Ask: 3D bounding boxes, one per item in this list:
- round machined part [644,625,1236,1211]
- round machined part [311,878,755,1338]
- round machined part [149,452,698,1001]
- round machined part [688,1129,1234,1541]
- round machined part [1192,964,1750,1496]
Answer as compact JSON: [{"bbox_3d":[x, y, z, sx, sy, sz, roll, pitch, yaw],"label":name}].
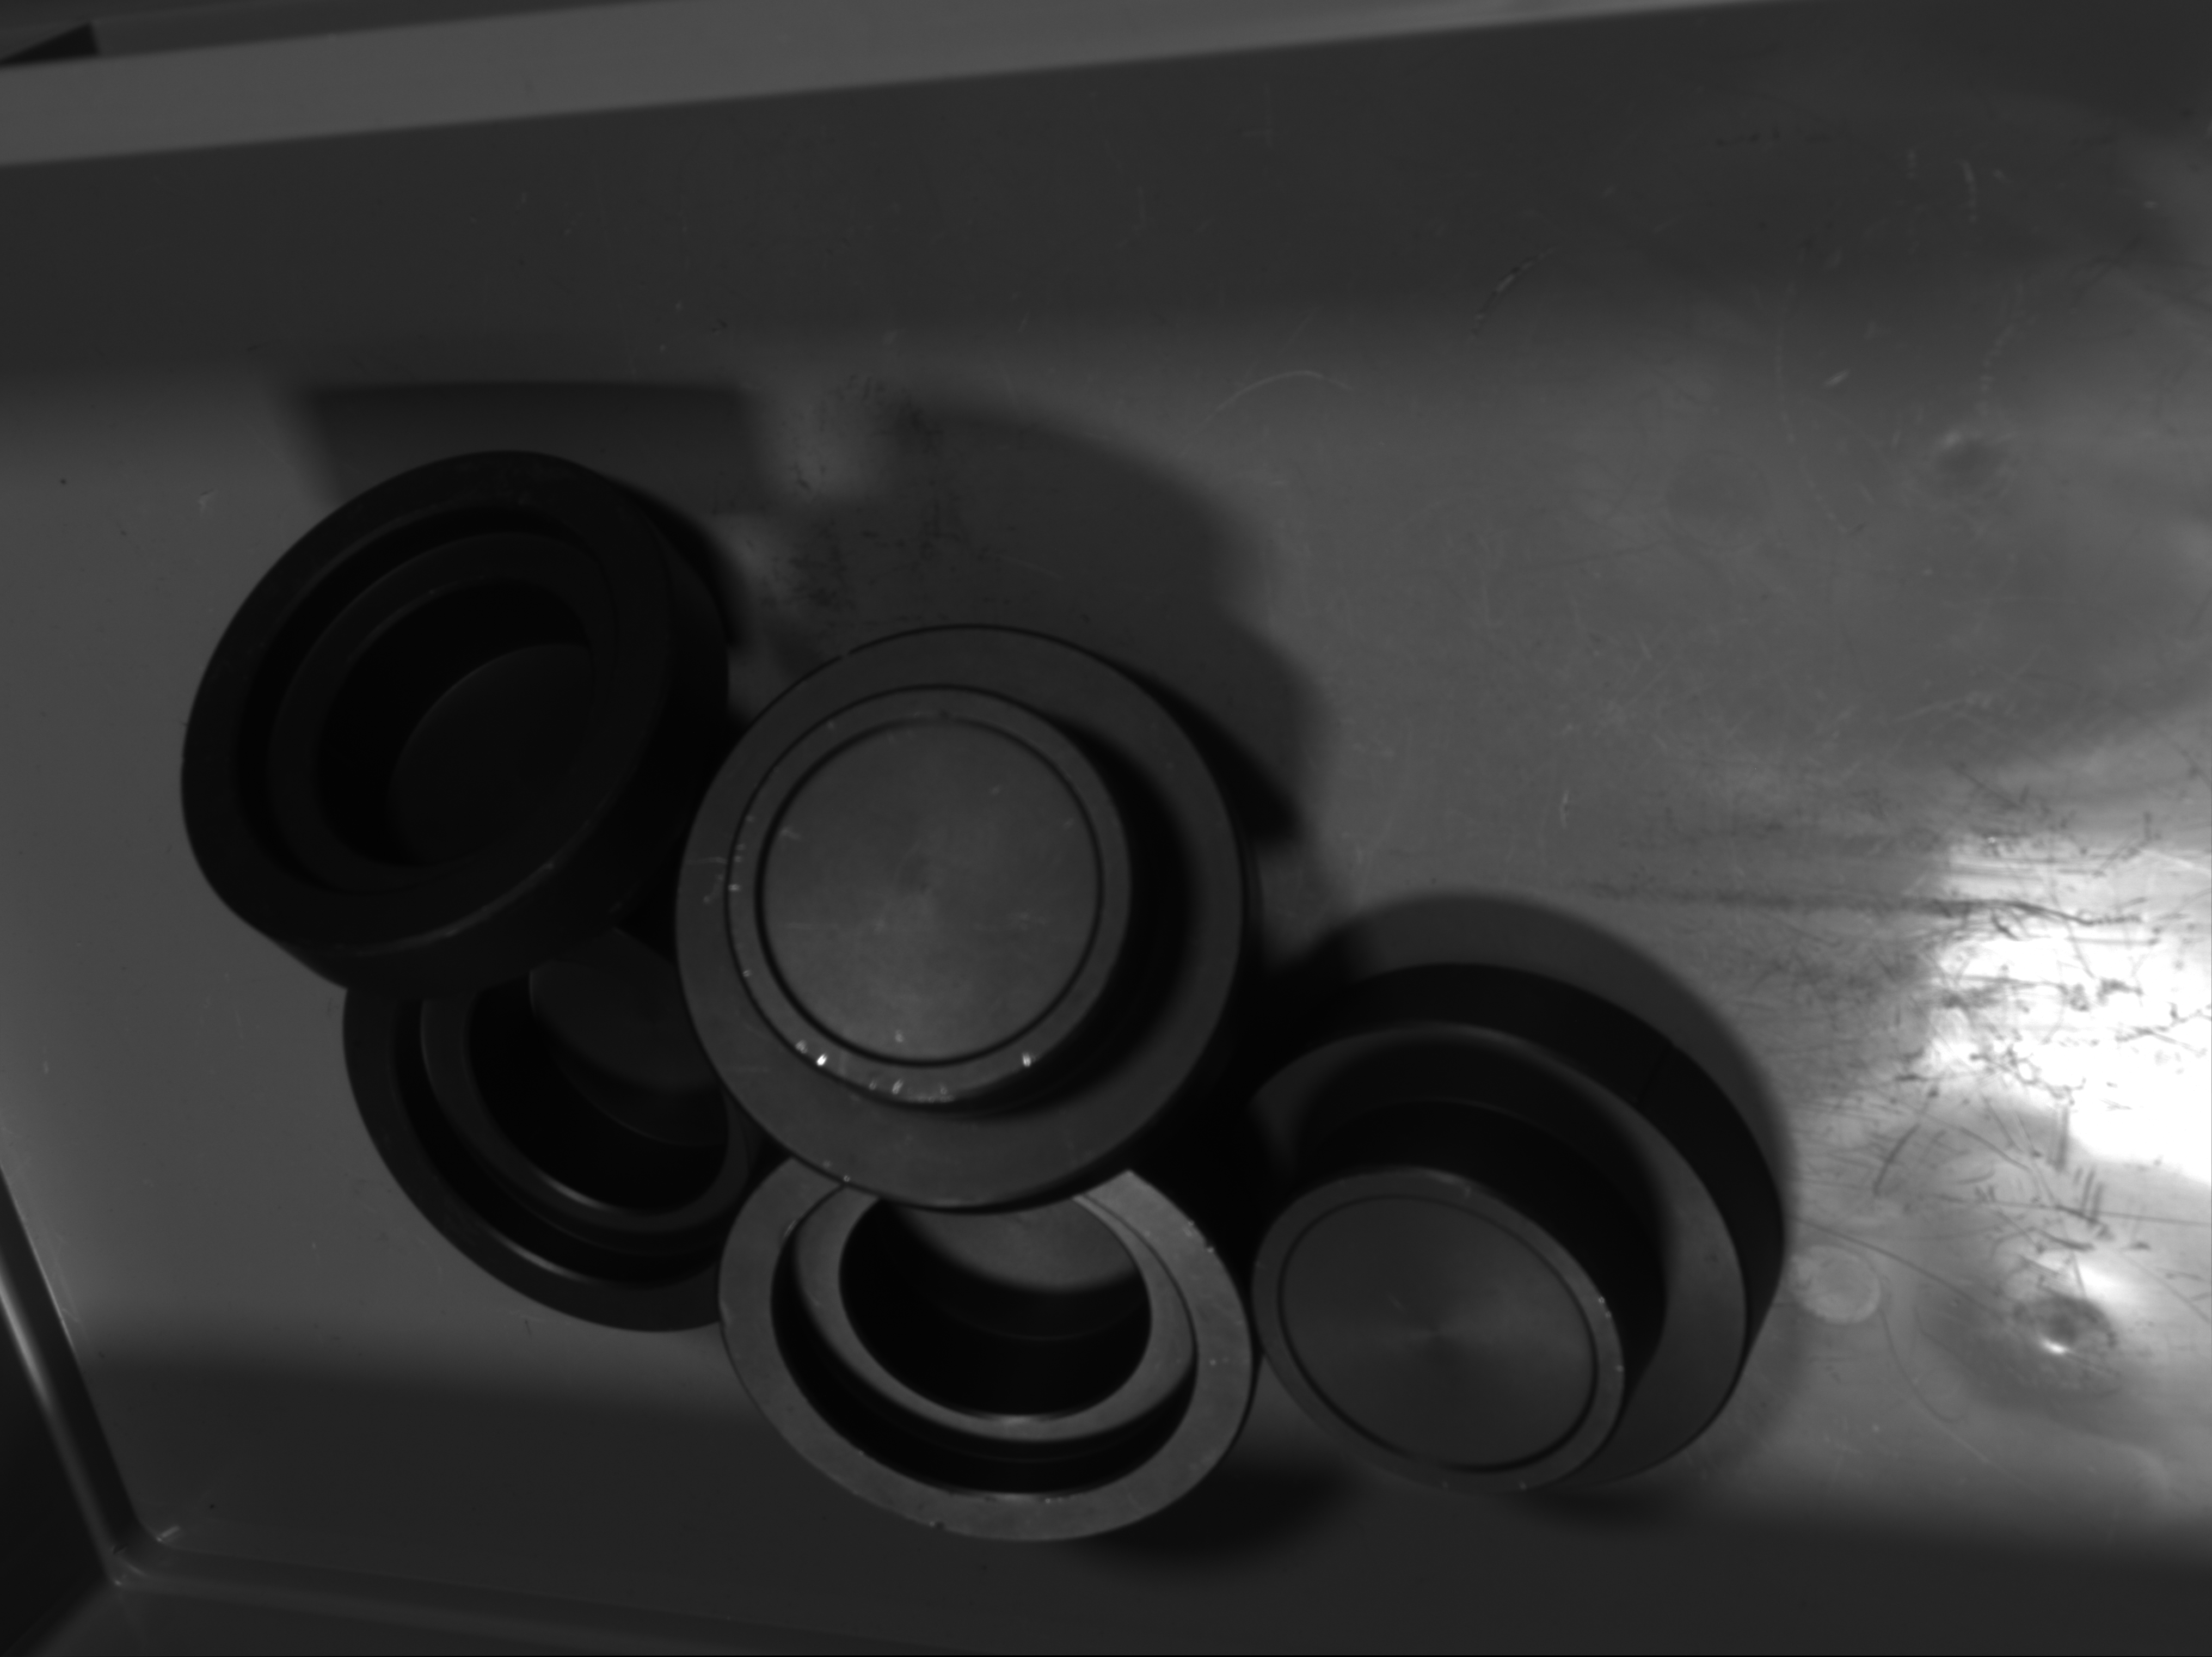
[{"bbox_3d":[-0.030,0.014,0.607,0.098,0.042,0.098,-2,79,9],"label":"round machined part"},{"bbox_3d":[-0.097,0.044,0.693,0.098,0.042,0.098,12,123,20],"label":"round machined part"},{"bbox_3d":[-0.115,-0.014,0.645,0.098,0.098,0.042,3,155,25],"label":"round machined part"},{"bbox_3d":[-0.023,0.079,0.663,0.098,0.042,0.098,5,124,8],"label":"round machined part"},{"bbox_3d":[0.059,0.076,0.635,0.098,0.042,0.098,12,123,20],"label":"round machined part"}]
